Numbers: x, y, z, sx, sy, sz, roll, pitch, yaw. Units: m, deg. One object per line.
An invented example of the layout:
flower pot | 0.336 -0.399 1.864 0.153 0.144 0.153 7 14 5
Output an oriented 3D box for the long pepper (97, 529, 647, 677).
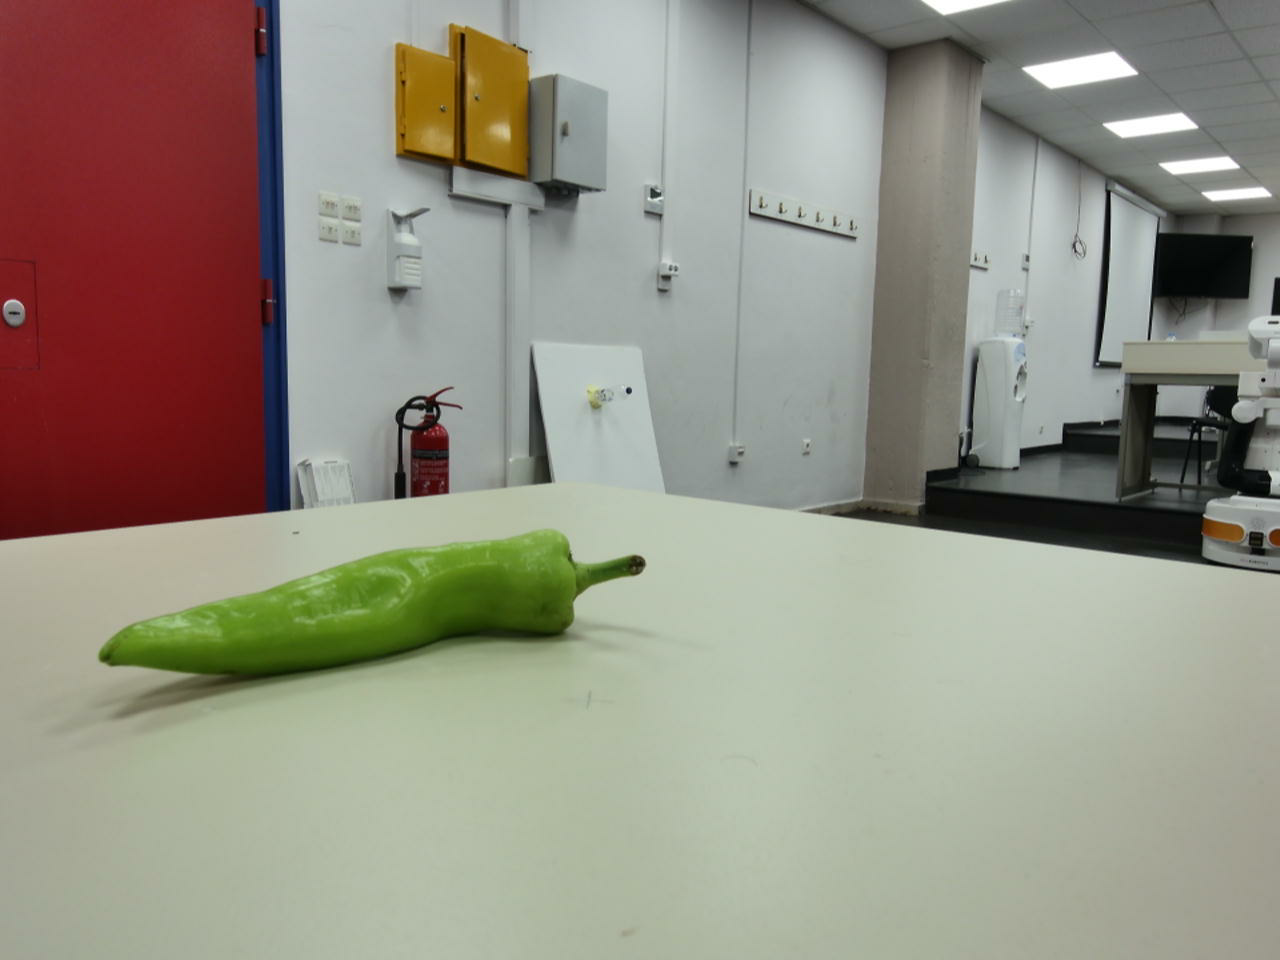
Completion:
long pepper | -0.098 0.048 0.399 0.204 0.045 0.065 -4 5 -34
